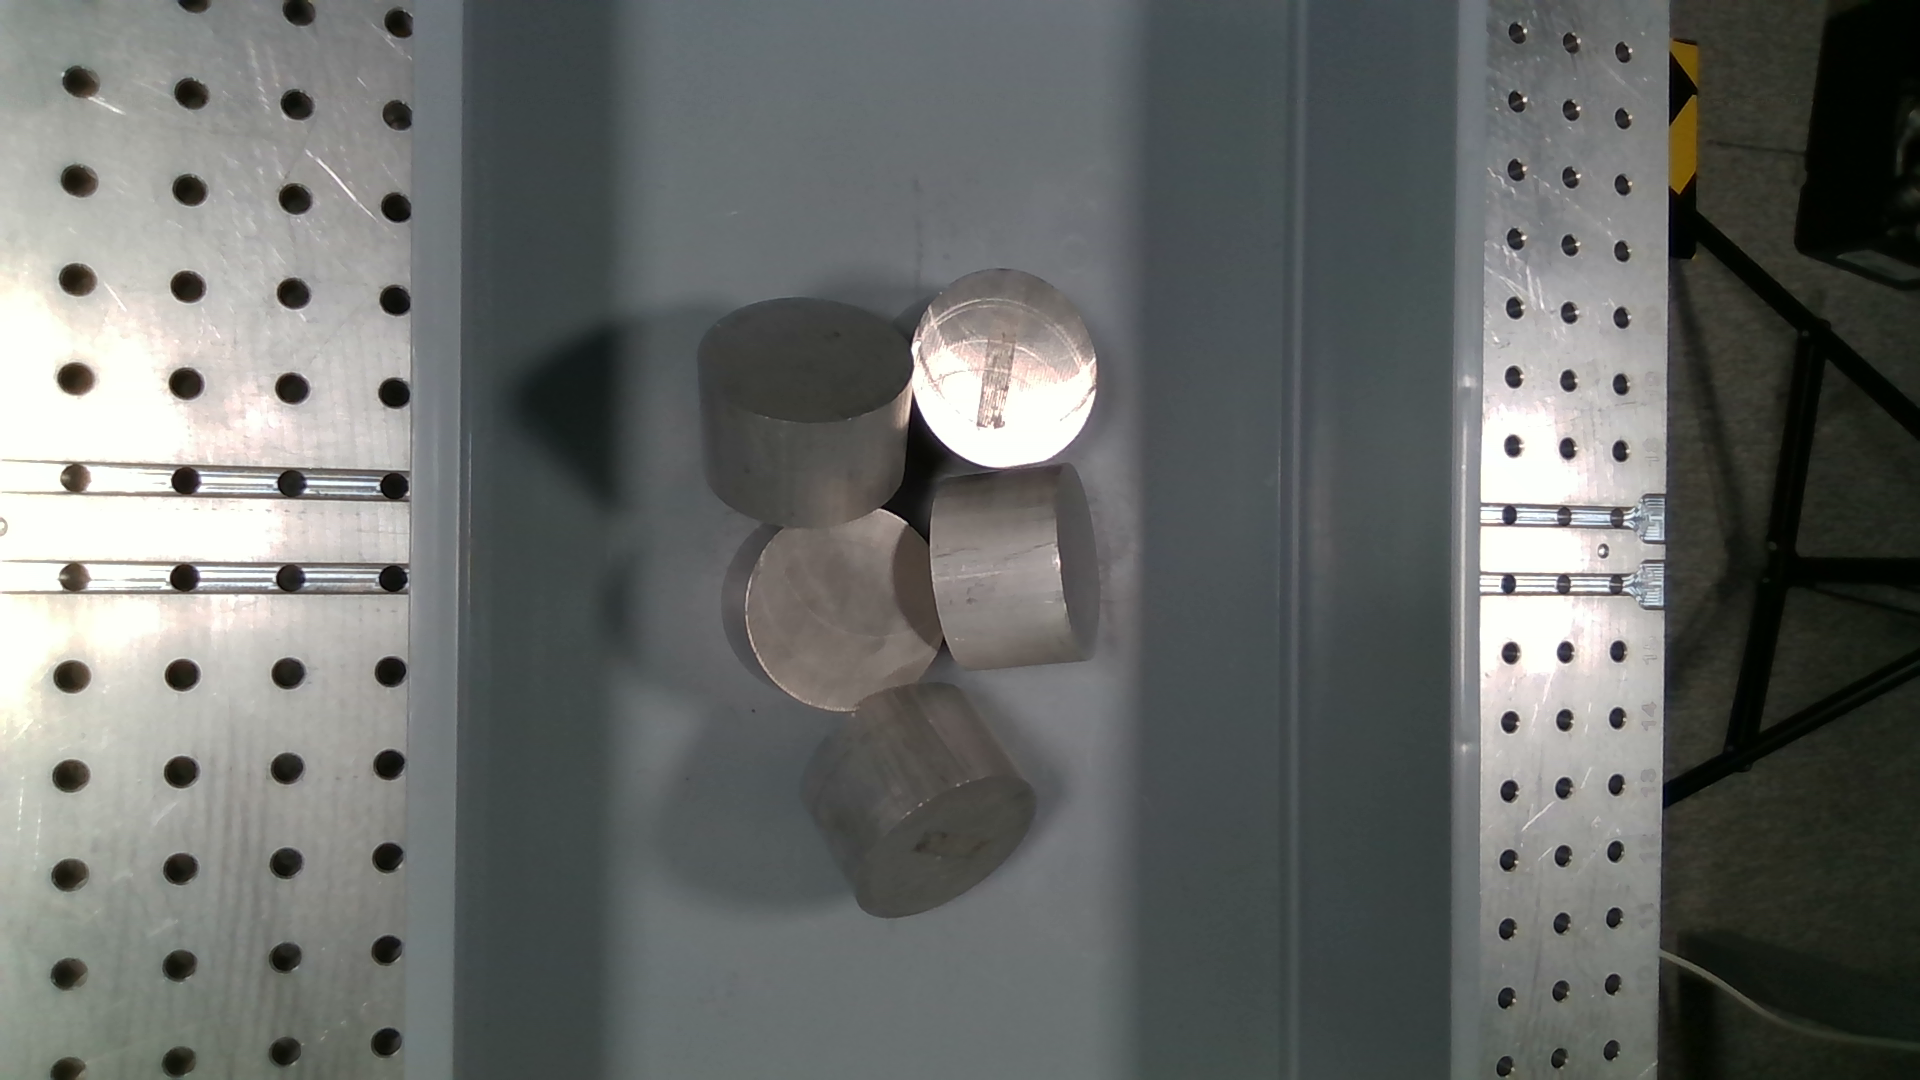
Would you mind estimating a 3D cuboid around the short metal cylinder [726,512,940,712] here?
[{"bbox_3d":[-0.051,0.026,0.552,0.080,0.050,0.080,0,90,-20],"label":"short metal cylinder"}]

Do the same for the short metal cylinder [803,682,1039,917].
[{"bbox_3d":[-0.016,0.103,0.544,0.080,0.050,0.080,-22,140,-20],"label":"short metal cylinder"}]

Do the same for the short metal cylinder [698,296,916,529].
[{"bbox_3d":[-0.059,-0.050,0.526,0.080,0.080,0.050,-12,136,-20],"label":"short metal cylinder"}]

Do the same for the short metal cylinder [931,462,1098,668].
[{"bbox_3d":[0.024,0.011,0.557,0.050,0.080,0.080,-7,93,15],"label":"short metal cylinder"}]

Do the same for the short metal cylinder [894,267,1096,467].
[{"bbox_3d":[0.010,-0.069,0.574,0.080,0.050,0.080,0,90,-20],"label":"short metal cylinder"}]
